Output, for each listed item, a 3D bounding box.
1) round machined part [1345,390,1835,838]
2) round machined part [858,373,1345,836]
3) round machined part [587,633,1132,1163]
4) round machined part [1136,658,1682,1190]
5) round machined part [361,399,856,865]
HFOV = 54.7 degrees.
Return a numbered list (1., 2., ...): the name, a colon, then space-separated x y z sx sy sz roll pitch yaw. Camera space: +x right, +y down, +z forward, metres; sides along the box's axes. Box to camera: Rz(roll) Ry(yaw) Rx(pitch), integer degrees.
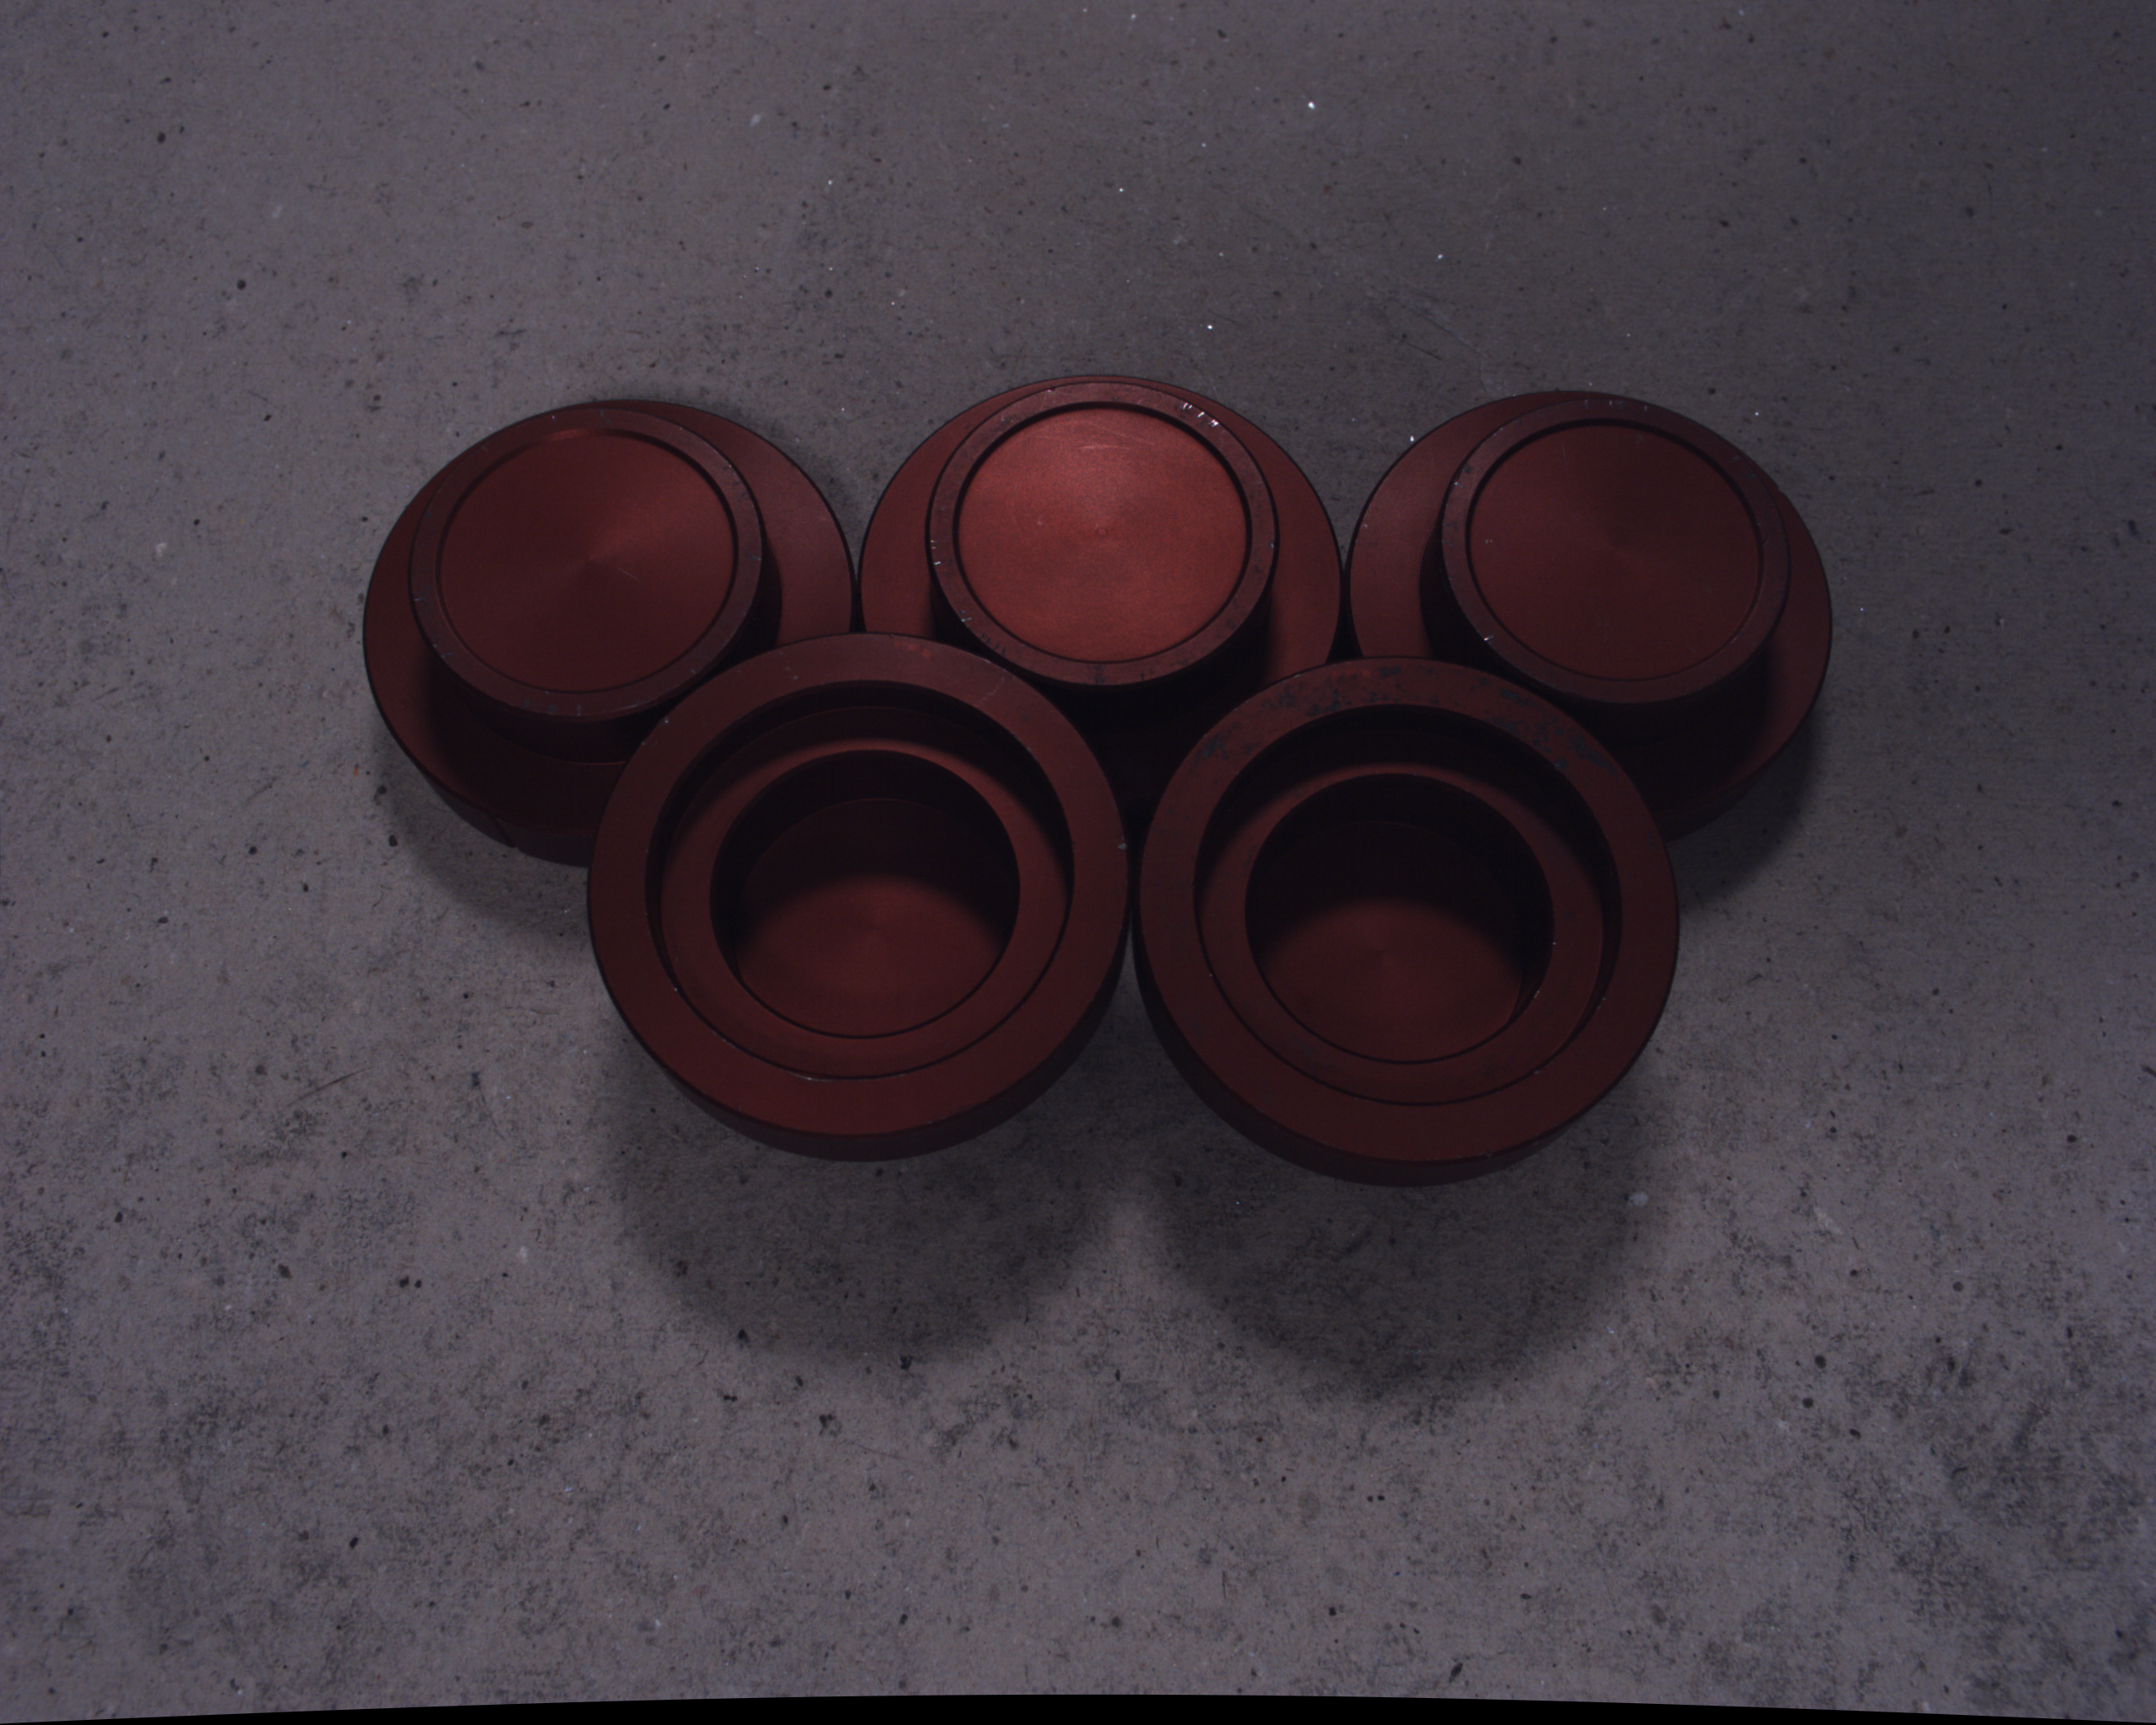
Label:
1. round machined part: 0.104 -0.054 0.421 0.099 0.042 0.098 0 70 -1
2. round machined part: 0.005 -0.057 0.421 0.099 0.042 0.098 0 70 -1
3. round machined part: -0.039 0.009 0.396 0.099 0.042 0.098 0 70 -1
4. round machined part: 0.060 0.014 0.396 0.099 0.042 0.098 0 70 -1
5. round machined part: -0.094 -0.051 0.418 0.099 0.042 0.098 0 70 -1
